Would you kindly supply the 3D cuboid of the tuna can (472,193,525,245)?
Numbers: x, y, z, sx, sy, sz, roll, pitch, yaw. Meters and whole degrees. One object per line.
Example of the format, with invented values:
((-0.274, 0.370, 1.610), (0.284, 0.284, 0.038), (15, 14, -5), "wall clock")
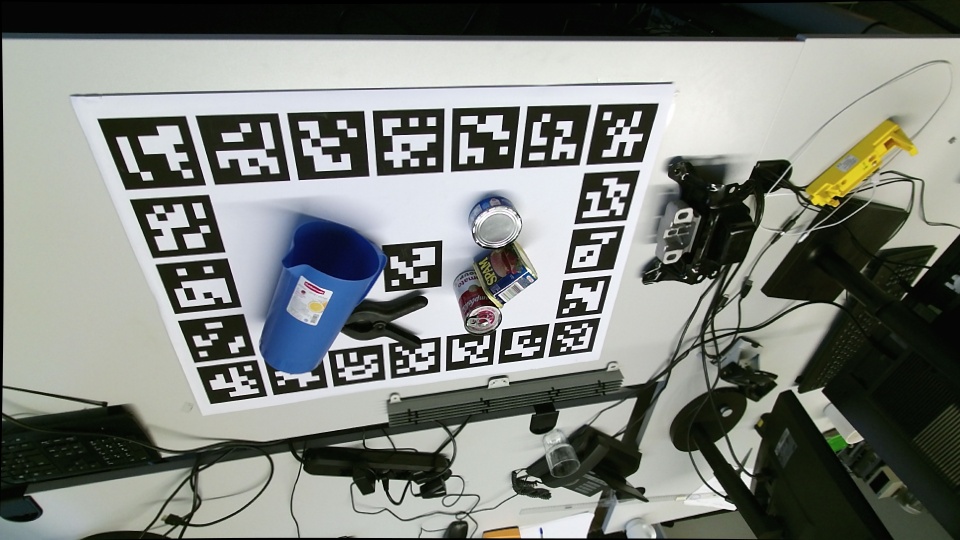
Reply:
((0.030, -0.086, 0.909), (0.086, 0.033, 0.086), (-8, 125, -11), "tuna can")

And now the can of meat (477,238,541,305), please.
((0.052, -0.001, 0.931), (0.084, 0.101, 0.058), (-36, 126, 6), "can of meat")

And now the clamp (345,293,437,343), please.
((-0.165, 0.094, 0.993), (0.166, 0.036, 0.122), (-2, 130, -12), "clamp")

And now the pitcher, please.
((-0.253, 0.048, 0.856), (0.189, 0.133, 0.242), (-2, 136, -43), "pitcher")

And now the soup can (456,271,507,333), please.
((0.001, 0.056, 0.963), (0.068, 0.101, 0.068), (-10, 125, -14), "soup can")
